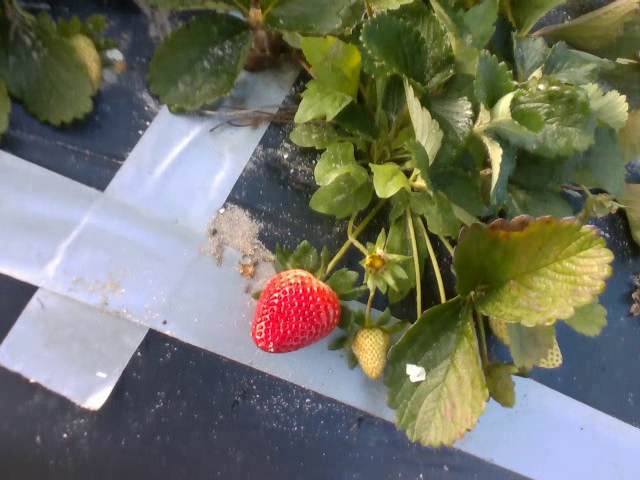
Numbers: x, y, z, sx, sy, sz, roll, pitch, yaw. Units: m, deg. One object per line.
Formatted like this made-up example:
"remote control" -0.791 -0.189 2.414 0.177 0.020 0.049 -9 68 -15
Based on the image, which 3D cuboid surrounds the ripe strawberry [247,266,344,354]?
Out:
"ripe strawberry" -0.006 0.018 0.132 0.023 0.021 0.026 31 44 13
